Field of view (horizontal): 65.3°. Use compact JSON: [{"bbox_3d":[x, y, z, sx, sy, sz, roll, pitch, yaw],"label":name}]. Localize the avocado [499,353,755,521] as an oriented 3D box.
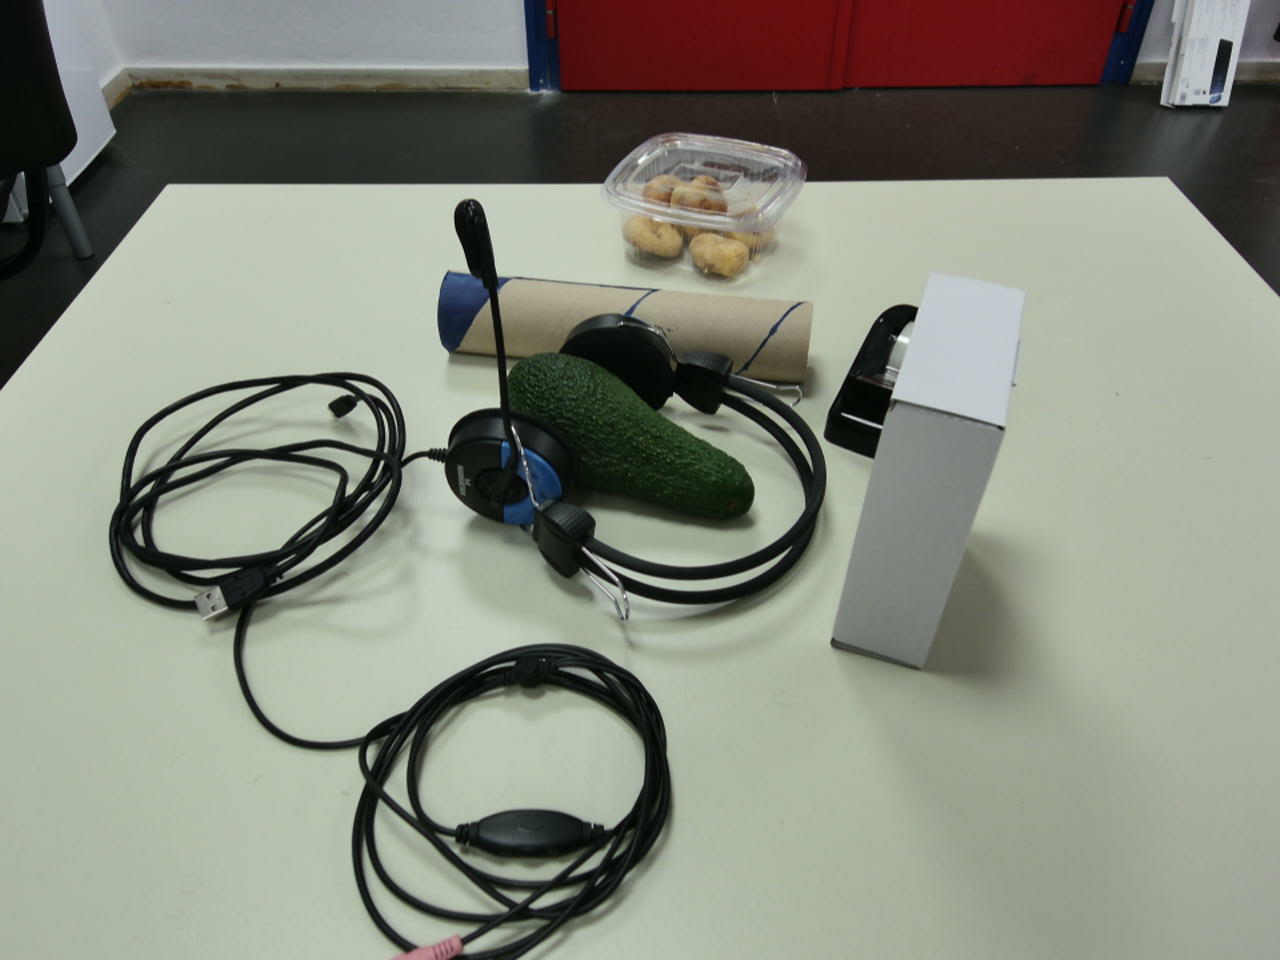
[{"bbox_3d":[-0.006,-0.027,0.511,0.141,0.067,0.063,10,40,12],"label":"avocado"}]
